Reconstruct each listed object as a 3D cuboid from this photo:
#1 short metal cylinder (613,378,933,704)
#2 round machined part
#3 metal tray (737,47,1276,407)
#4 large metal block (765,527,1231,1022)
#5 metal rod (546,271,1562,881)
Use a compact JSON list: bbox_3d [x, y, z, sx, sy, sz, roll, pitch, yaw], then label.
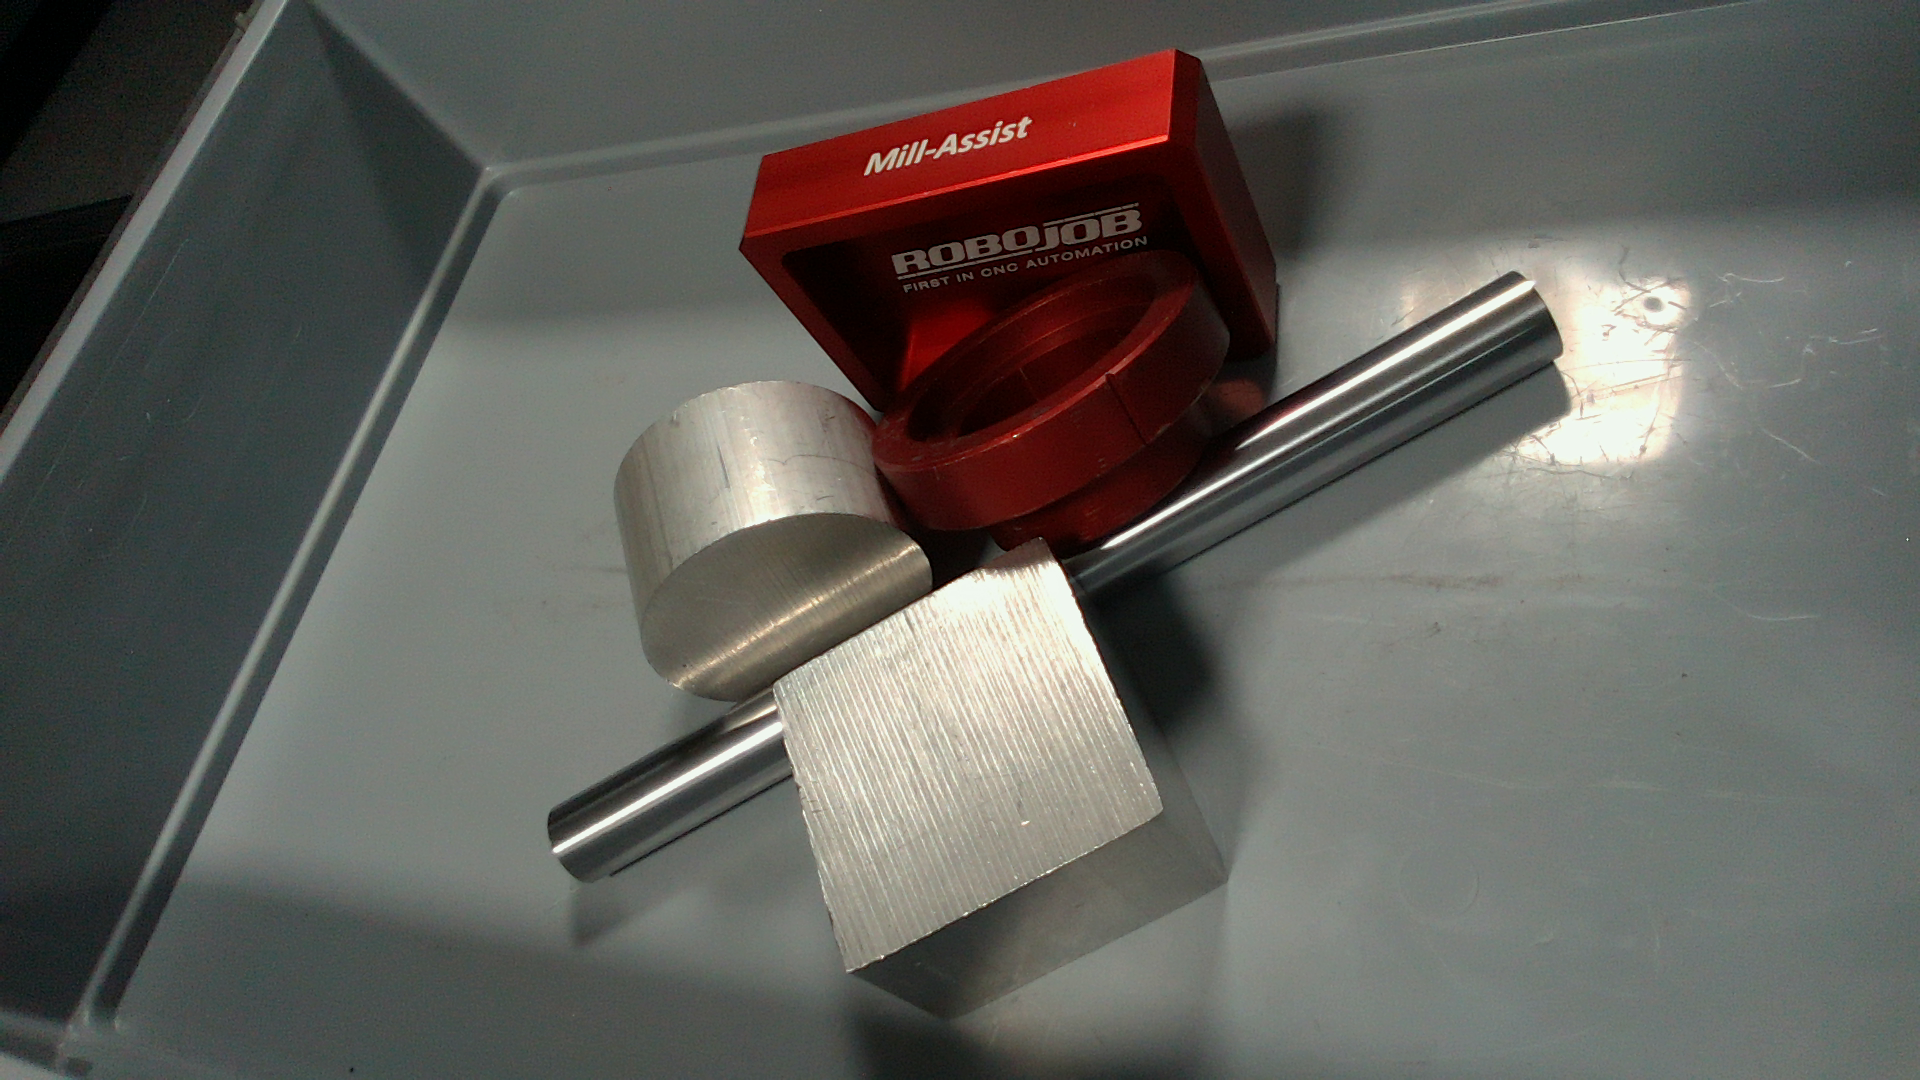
[{"bbox_3d":[-0.053,0.002,0.385,0.080,0.080,0.050,-30,52,9],"label":"short metal cylinder"},{"bbox_3d":[0.028,-0.033,0.369,0.098,0.042,0.098,-27,23,13],"label":"round machined part"},{"bbox_3d":[0.015,-0.081,0.391,0.130,0.090,0.030,-6,59,25],"label":"metal tray"},{"bbox_3d":[0.007,0.057,0.335,0.080,0.050,0.080,-29,52,10],"label":"large metal block"},{"bbox_3d":[0.017,0.015,0.374,0.300,0.025,0.025,-29,52,10],"label":"metal rod"}]
